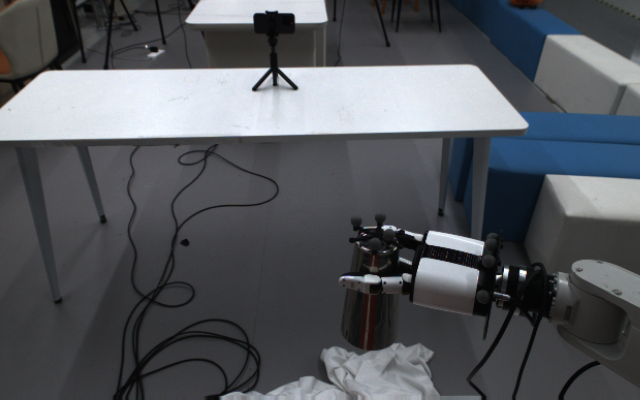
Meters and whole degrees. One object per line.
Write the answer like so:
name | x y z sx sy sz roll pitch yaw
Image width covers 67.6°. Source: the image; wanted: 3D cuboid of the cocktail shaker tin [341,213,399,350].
cocktail shaker tin | 0.085 0.133 0.753 0.093 0.170 0.093 1 27 -1
